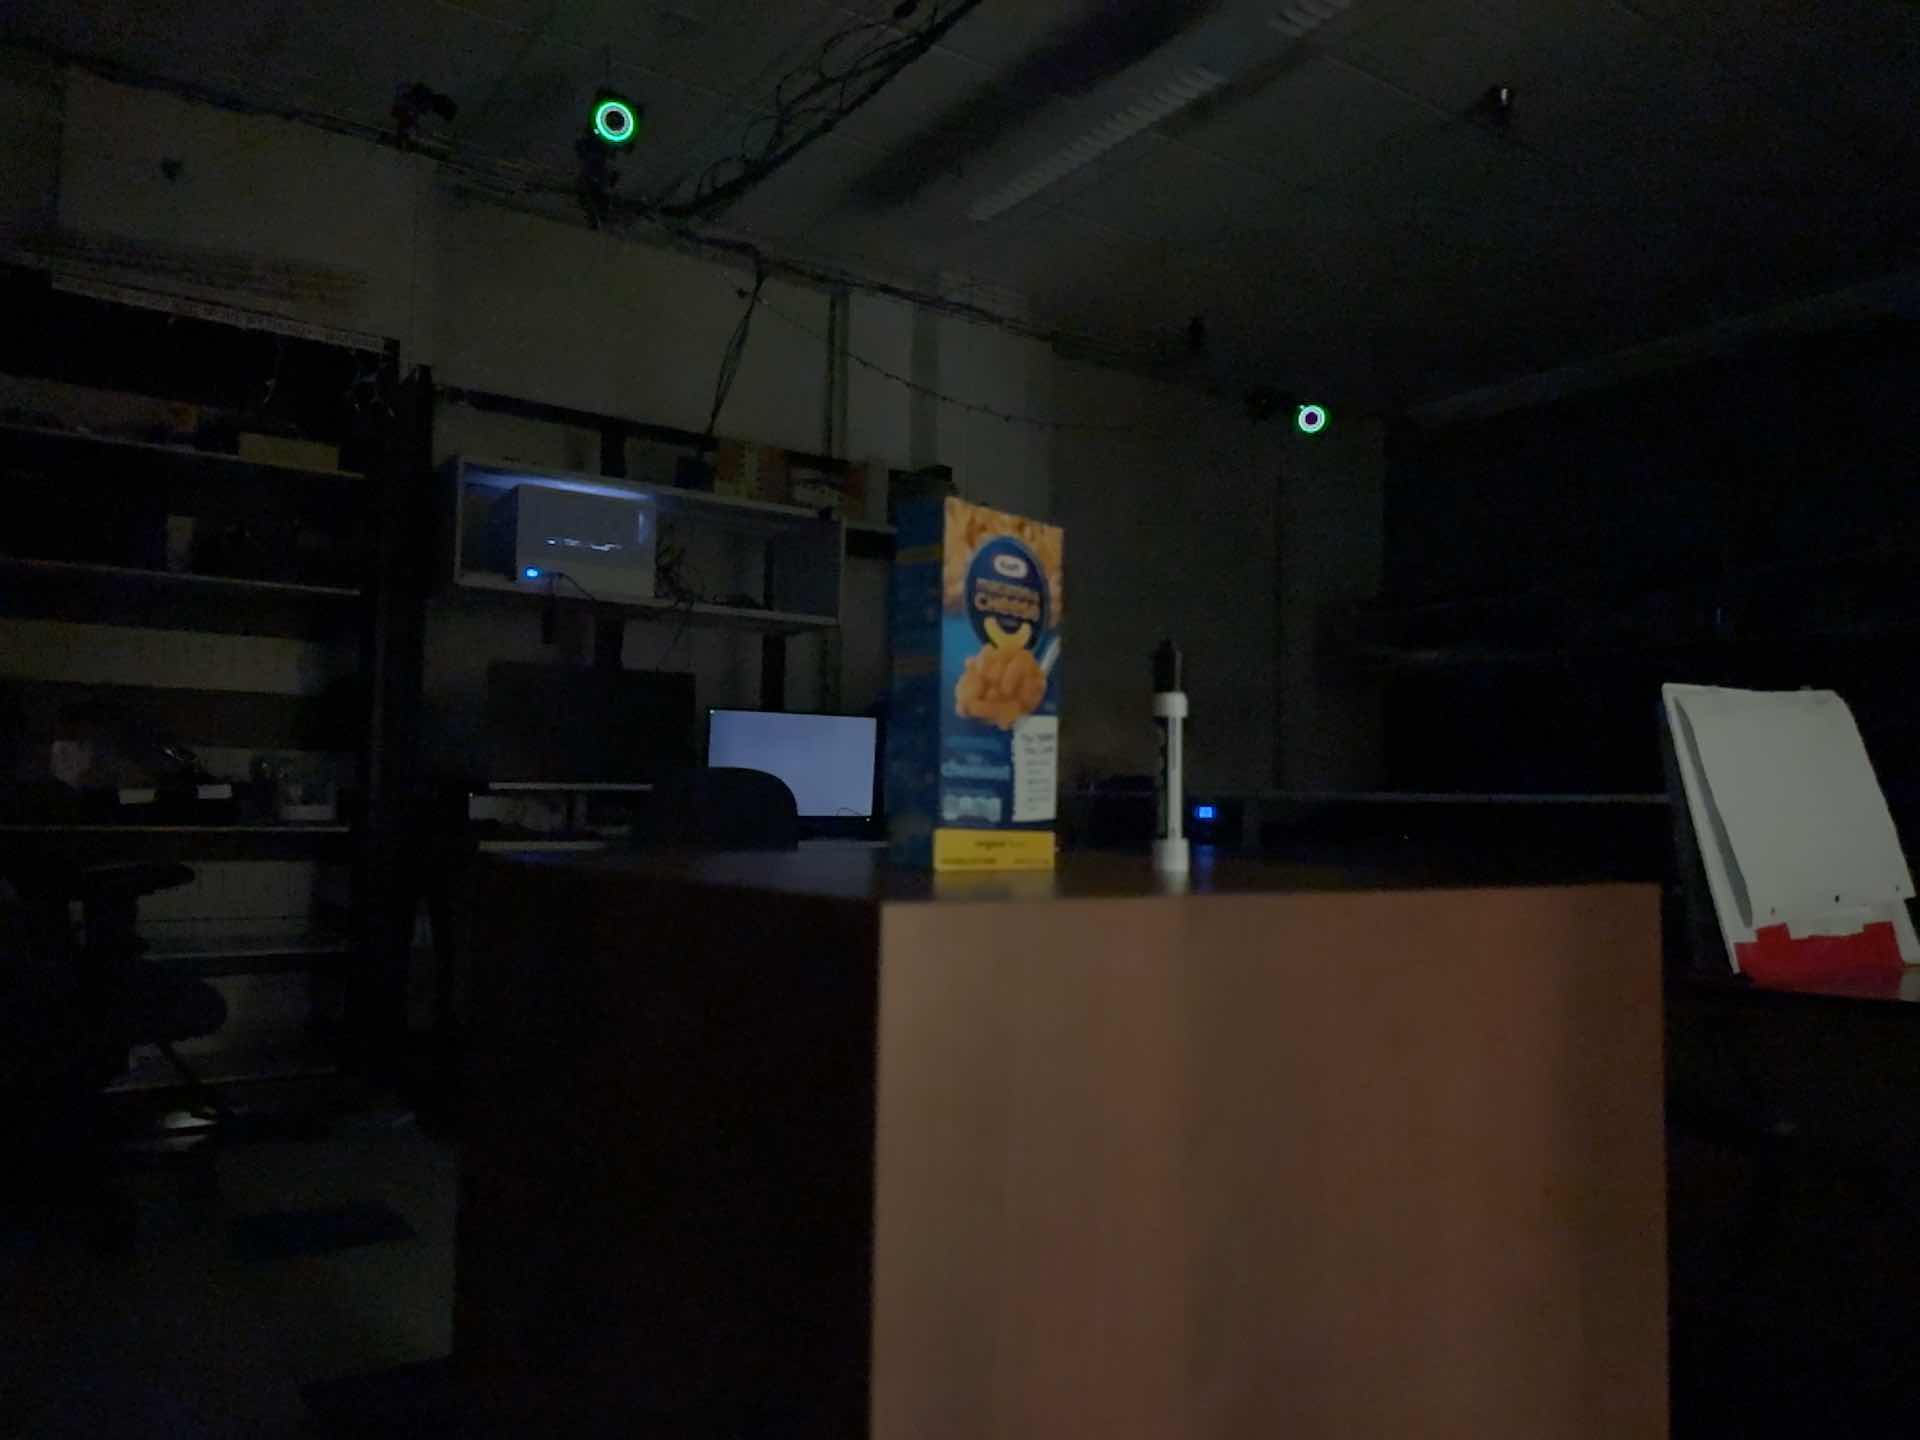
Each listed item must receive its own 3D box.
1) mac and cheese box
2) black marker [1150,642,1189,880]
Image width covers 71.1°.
[{"bbox_3d":[0.007,-0.016,0.681,0.088,0.181,0.035,3,-3,-41],"label":"mac and cheese box"},{"bbox_3d":[0.107,0.021,0.689,0.020,0.121,0.020,0,-3,0],"label":"black marker"}]
